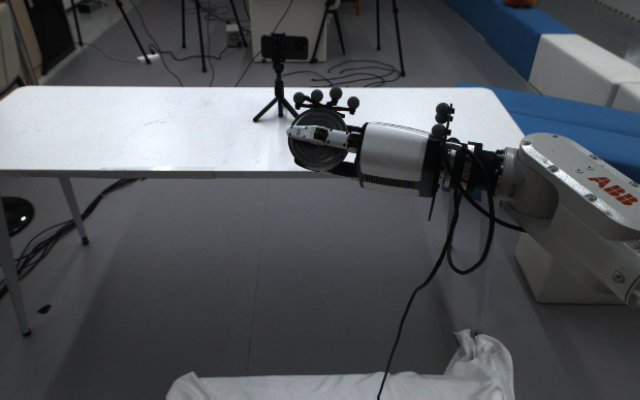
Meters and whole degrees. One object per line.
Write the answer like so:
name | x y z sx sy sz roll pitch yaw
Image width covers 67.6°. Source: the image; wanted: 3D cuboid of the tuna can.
tuna can | -0.001 -0.087 0.684 0.085 0.085 0.034 11 -8 13
